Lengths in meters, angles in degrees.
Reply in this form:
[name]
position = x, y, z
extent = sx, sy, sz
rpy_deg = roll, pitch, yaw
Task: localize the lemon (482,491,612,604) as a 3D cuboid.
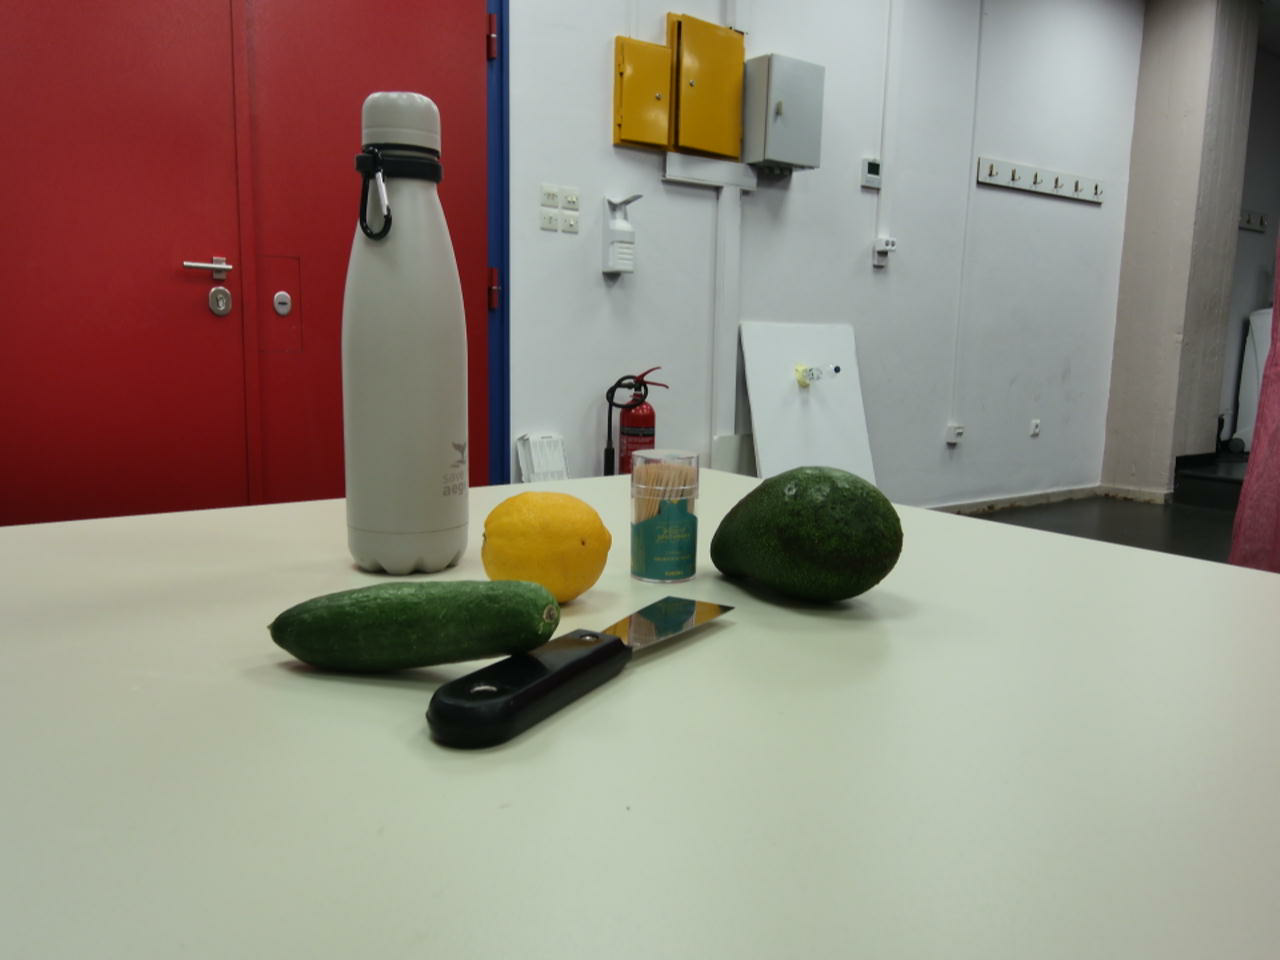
[lemon]
position = -0.050, 0.036, 0.529
extent = 0.067, 0.059, 0.061
rpy_deg = 1, 7, 5
